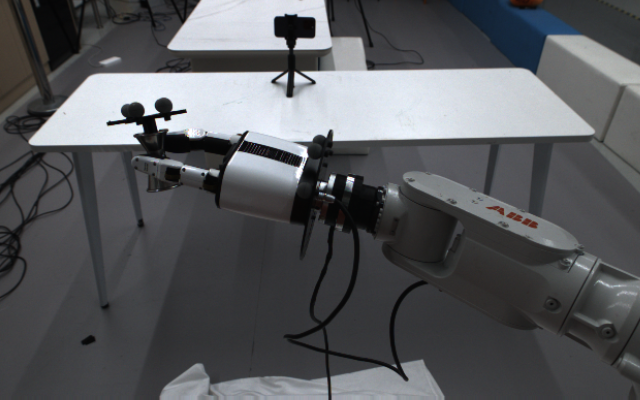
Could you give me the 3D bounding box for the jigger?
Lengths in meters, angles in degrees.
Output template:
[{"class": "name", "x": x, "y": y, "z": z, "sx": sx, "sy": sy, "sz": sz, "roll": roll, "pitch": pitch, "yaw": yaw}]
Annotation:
[{"class": "jigger", "x": -0.192, "y": -0.048, "z": 0.582, "sx": 0.043, "sy": 0.071, "sz": 0.043, "roll": -9, "pitch": 16, "yaw": 3}]
